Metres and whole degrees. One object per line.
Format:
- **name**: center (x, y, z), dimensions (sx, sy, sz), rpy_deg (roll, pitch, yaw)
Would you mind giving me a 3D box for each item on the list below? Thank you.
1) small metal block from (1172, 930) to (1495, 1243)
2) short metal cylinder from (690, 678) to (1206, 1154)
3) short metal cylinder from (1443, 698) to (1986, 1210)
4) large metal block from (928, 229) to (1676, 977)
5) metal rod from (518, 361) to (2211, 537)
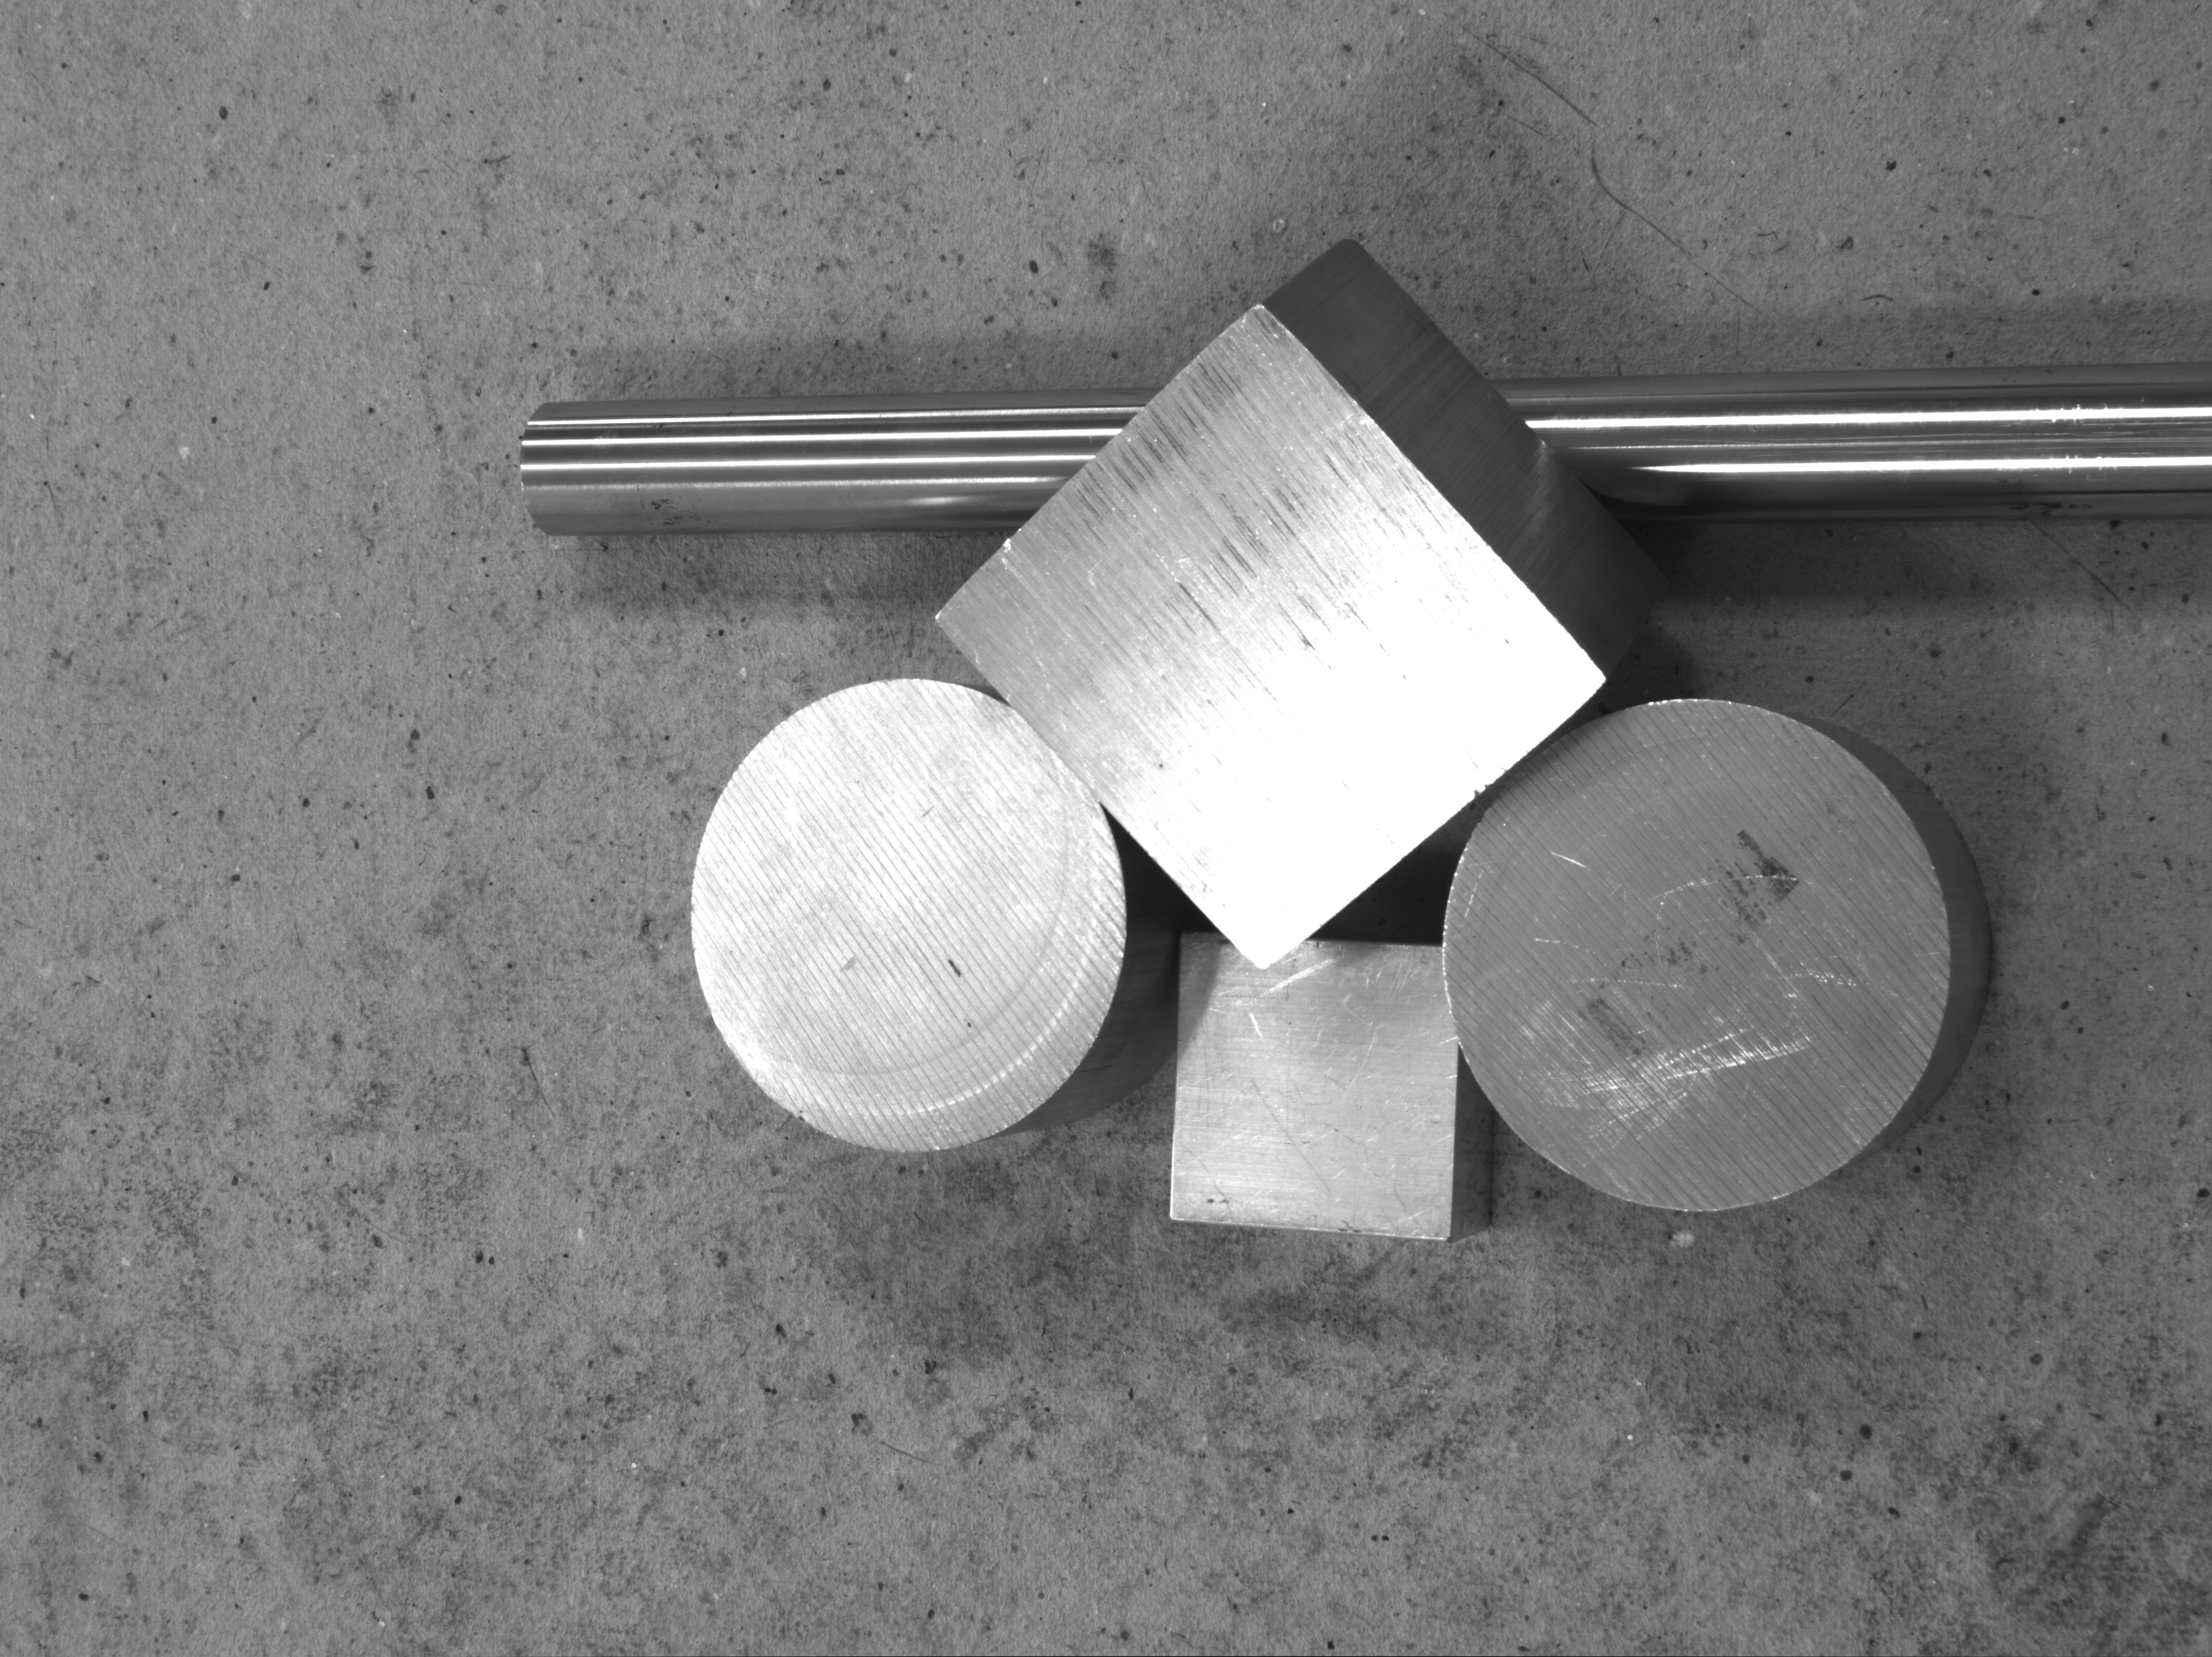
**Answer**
- **small metal block**: center (0.040, 0.043, 0.633), dimensions (0.050, 0.025, 0.050), rpy_deg (2, 91, 20)
- **short metal cylinder**: center (-0.025, 0.015, 0.642), dimensions (0.080, 0.050, 0.080), rpy_deg (0, 90, 20)
- **short metal cylinder**: center (0.100, 0.020, 0.597), dimensions (0.080, 0.050, 0.080), rpy_deg (0, 90, 20)
- **large metal block**: center (0.033, -0.037, 0.603), dimensions (0.080, 0.050, 0.080), rpy_deg (47, 119, -2)
- **metal rod**: center (0.037, -0.064, 0.633), dimensions (0.299, 0.025, 0.025), rpy_deg (1, 90, 20)
